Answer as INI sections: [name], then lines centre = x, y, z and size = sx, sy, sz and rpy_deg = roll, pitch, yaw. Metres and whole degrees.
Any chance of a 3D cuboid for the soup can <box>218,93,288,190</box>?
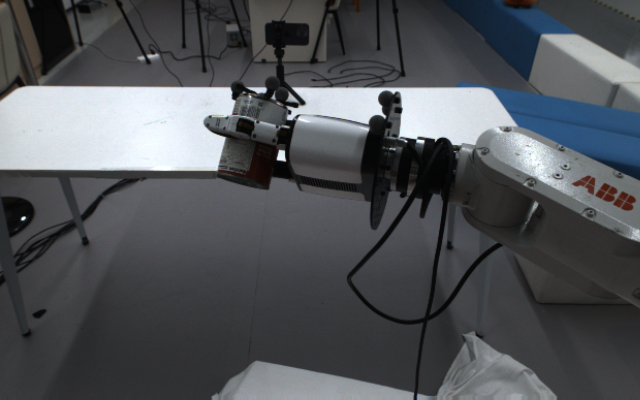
[soup can]
centre = -0.081, -0.069, 0.590
size = 0.067, 0.101, 0.067
rpy_deg = 13, -6, 1
